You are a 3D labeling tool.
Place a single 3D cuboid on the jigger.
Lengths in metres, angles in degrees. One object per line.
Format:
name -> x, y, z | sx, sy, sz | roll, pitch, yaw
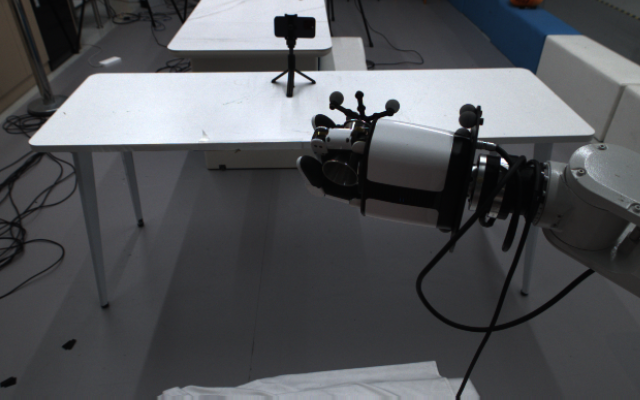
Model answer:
jigger -> 0.037, -0.055, 0.557 | 0.043, 0.043, 0.071 | 13, 58, 16
